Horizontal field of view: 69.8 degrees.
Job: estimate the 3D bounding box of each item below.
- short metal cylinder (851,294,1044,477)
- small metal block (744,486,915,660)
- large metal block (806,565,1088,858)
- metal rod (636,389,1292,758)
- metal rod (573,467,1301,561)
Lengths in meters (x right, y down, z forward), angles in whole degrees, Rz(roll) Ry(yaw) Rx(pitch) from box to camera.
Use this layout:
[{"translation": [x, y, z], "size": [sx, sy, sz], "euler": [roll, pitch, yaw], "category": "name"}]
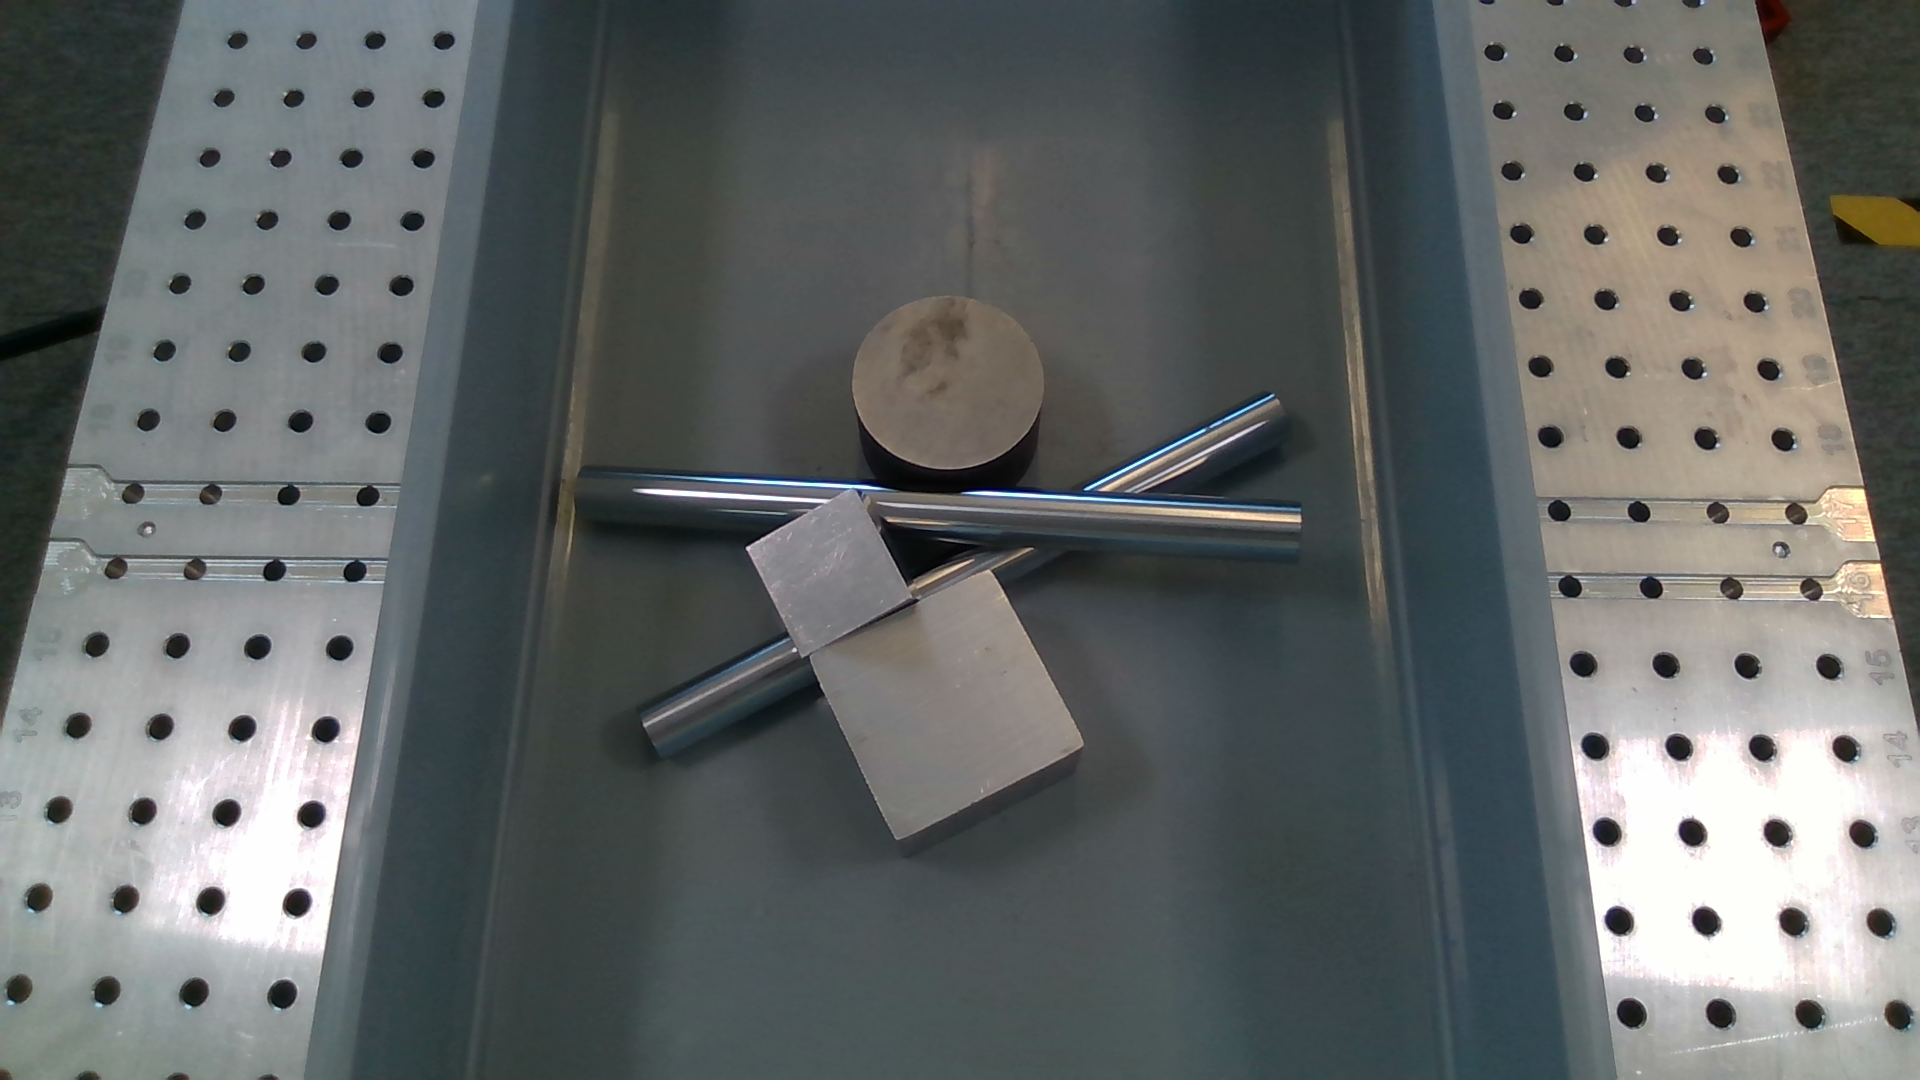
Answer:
[{"translation": [-0.005, -0.058, 0.595], "size": [0.080, 0.050, 0.080], "euler": [0, 71, 0], "category": "short metal cylinder"}, {"translation": [-0.050, 0.014, 0.548], "size": [0.050, 0.025, 0.050], "euler": [-29, 80, 6], "category": "small metal block"}, {"translation": [-0.005, 0.069, 0.549], "size": [0.080, 0.050, 0.080], "euler": [-26, 72, -9], "category": "large metal block"}, {"translation": [0.006, 0.011, 0.583], "size": [0.300, 0.025, 0.025], "euler": [-27, 72, -9], "category": "metal rod"}, {"translation": [-0.014, -0.012, 0.570], "size": [0.300, 0.025, 0.025], "euler": [3, 70, 9], "category": "metal rod"}]
